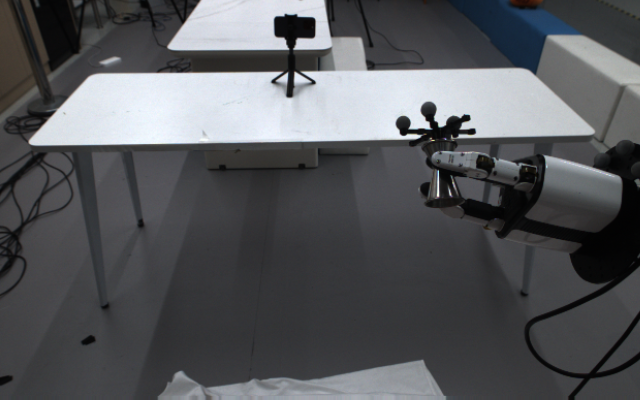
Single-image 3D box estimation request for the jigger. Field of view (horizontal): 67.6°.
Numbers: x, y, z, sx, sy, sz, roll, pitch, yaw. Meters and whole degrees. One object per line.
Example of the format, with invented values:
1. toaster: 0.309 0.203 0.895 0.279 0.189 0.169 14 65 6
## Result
1. jigger: 0.137 -0.031 0.540 0.043 0.043 0.071 0 75 -3
